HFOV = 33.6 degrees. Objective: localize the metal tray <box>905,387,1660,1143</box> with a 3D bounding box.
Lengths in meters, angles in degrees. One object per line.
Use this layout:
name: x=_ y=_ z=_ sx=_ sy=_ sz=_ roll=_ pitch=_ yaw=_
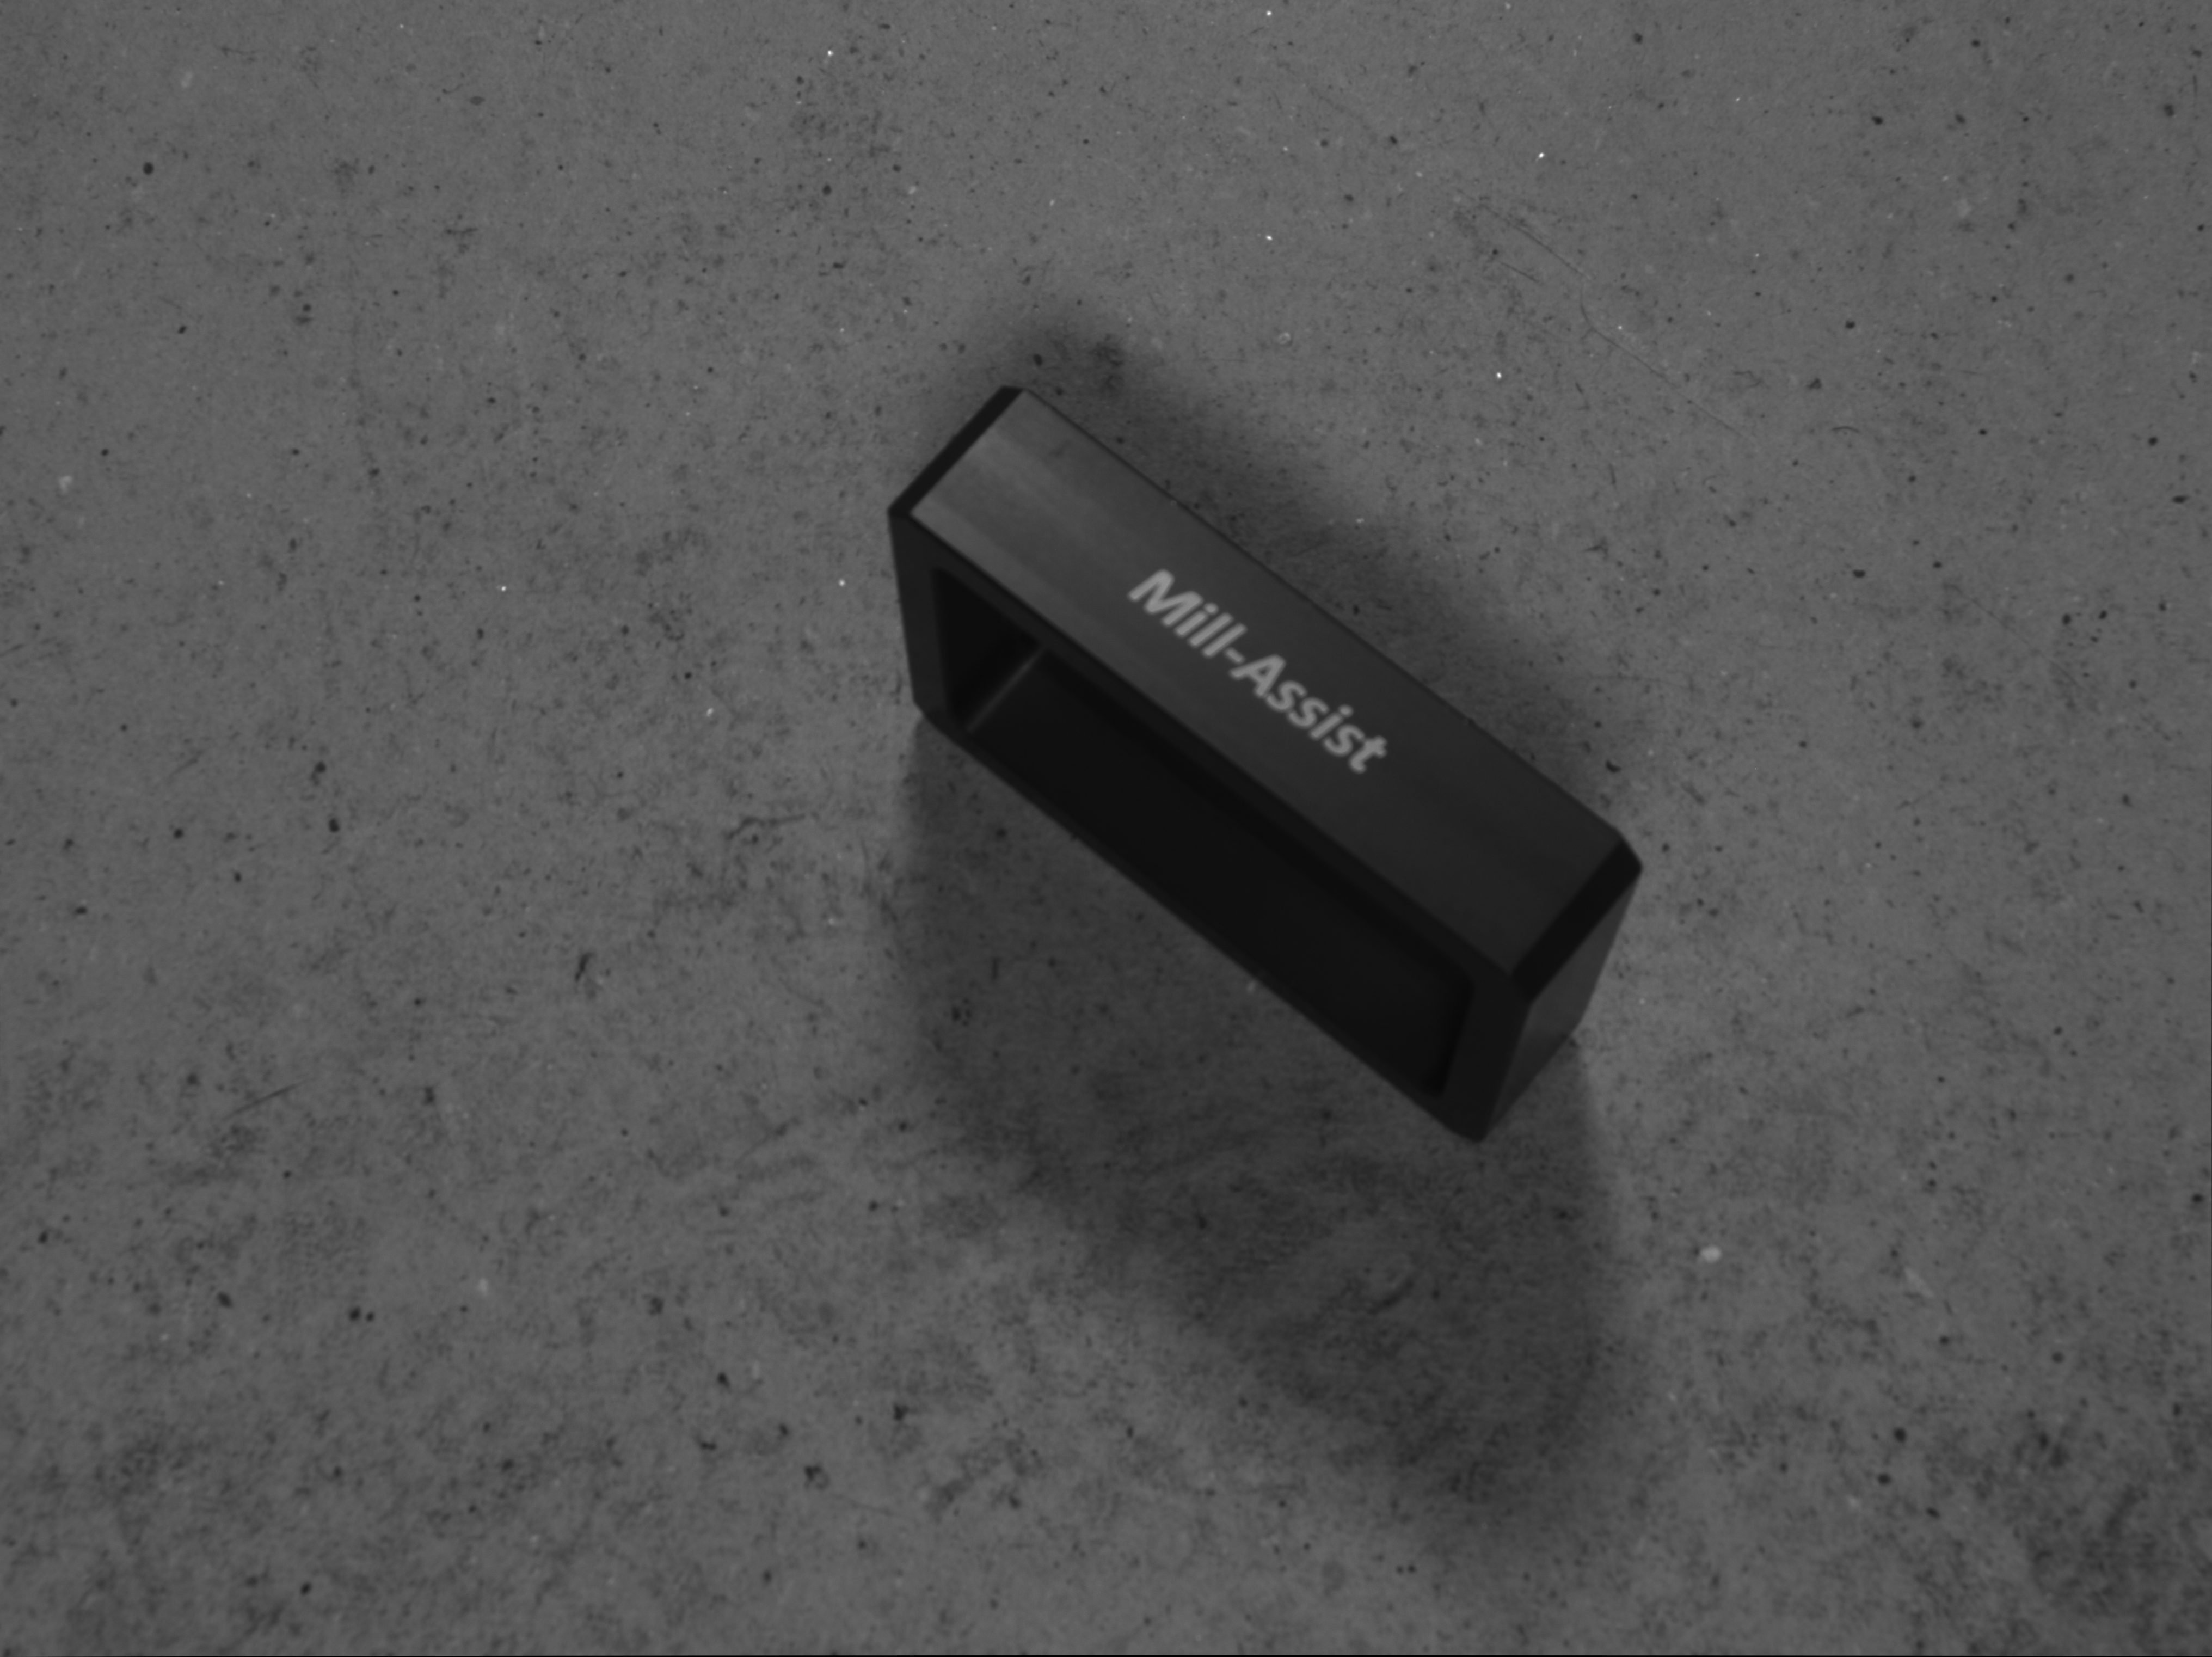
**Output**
metal tray: x=0.027 y=-0.009 z=0.613 sx=0.130 sy=0.090 sz=0.030 roll=38 pitch=74 yaw=13
